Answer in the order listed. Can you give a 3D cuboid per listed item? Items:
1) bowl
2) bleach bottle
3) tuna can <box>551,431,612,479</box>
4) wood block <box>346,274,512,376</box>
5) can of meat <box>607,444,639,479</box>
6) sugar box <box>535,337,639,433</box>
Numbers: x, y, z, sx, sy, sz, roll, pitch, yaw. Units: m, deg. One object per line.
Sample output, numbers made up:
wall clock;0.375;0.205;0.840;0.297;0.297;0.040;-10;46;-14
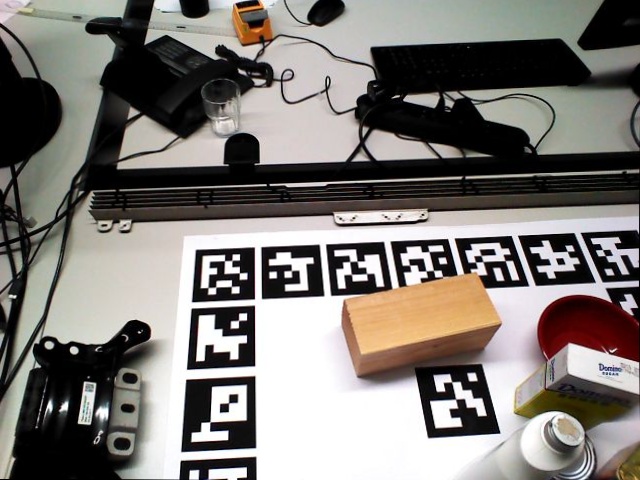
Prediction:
bowl;0.412;0.150;0.742;0.162;0.055;0.160;-3;54;3
bleach bottle;0.223;0.240;0.560;0.102;0.252;0.068;-25;57;-17
tuna can;0.321;0.277;0.662;0.086;0.034;0.085;-1;58;1
wood block;0.151;0.120;0.748;0.206;0.090;0.090;-11;59;-8
can of meat;0.408;0.282;0.635;0.101;0.084;0.058;-29;56;-20
sugar box;0.339;0.185;0.641;0.093;0.177;0.045;12;57;13
